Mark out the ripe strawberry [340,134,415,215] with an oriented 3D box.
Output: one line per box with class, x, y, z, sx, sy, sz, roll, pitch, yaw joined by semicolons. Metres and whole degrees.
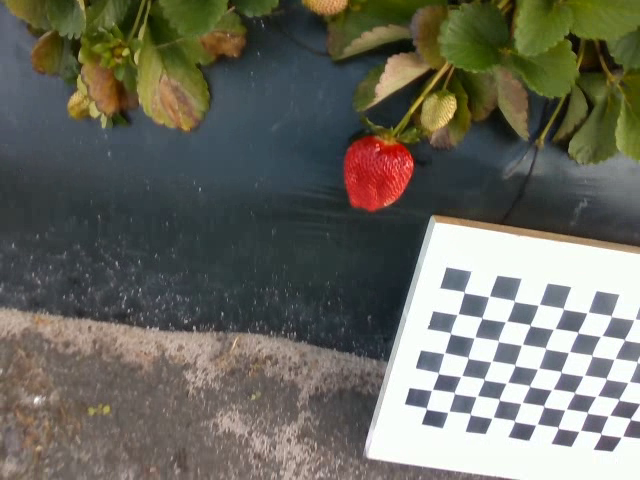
ripe strawberry;0.049;-0.057;0.546;0.067;0.075;0.039;14;23;-4
